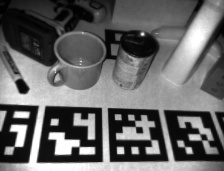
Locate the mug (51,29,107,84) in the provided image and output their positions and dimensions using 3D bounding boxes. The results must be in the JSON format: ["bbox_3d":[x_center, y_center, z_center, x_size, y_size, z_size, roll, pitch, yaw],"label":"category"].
[{"bbox_3d":[-0.069,-0.048,0.411,0.093,0.081,0.118,38,60,12],"label":"mug"}]

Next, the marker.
[{"bbox_3d":[-0.188,-0.029,0.413,0.020,0.019,0.120,-28,67,-24],"label":"marker"}]

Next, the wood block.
[{"bbox_3d":[0.096,-0.234,0.573,0.207,0.091,0.089,0,57,-12],"label":"wood block"}]

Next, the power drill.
[{"bbox_3d":[-0.131,-0.160,0.496,0.184,0.057,0.187,27,53,2],"label":"power drill"}]

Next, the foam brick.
[{"bbox_3d":[0.238,-0.031,0.475,0.052,0.078,0.051,28,53,11],"label":"foam brick"}]

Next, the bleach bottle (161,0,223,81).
[{"bbox_3d":[0.170,-0.120,0.412,0.067,0.251,0.103,25,54,7],"label":"bleach bottle"}]

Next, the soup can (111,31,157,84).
[{"bbox_3d":[0.039,-0.059,0.424,0.068,0.102,0.067,7,51,-8],"label":"soup can"}]

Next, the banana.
[{"bbox_3d":[0.179,-0.147,0.559,0.198,0.039,0.074,15,68,-5],"label":"banana"}]
